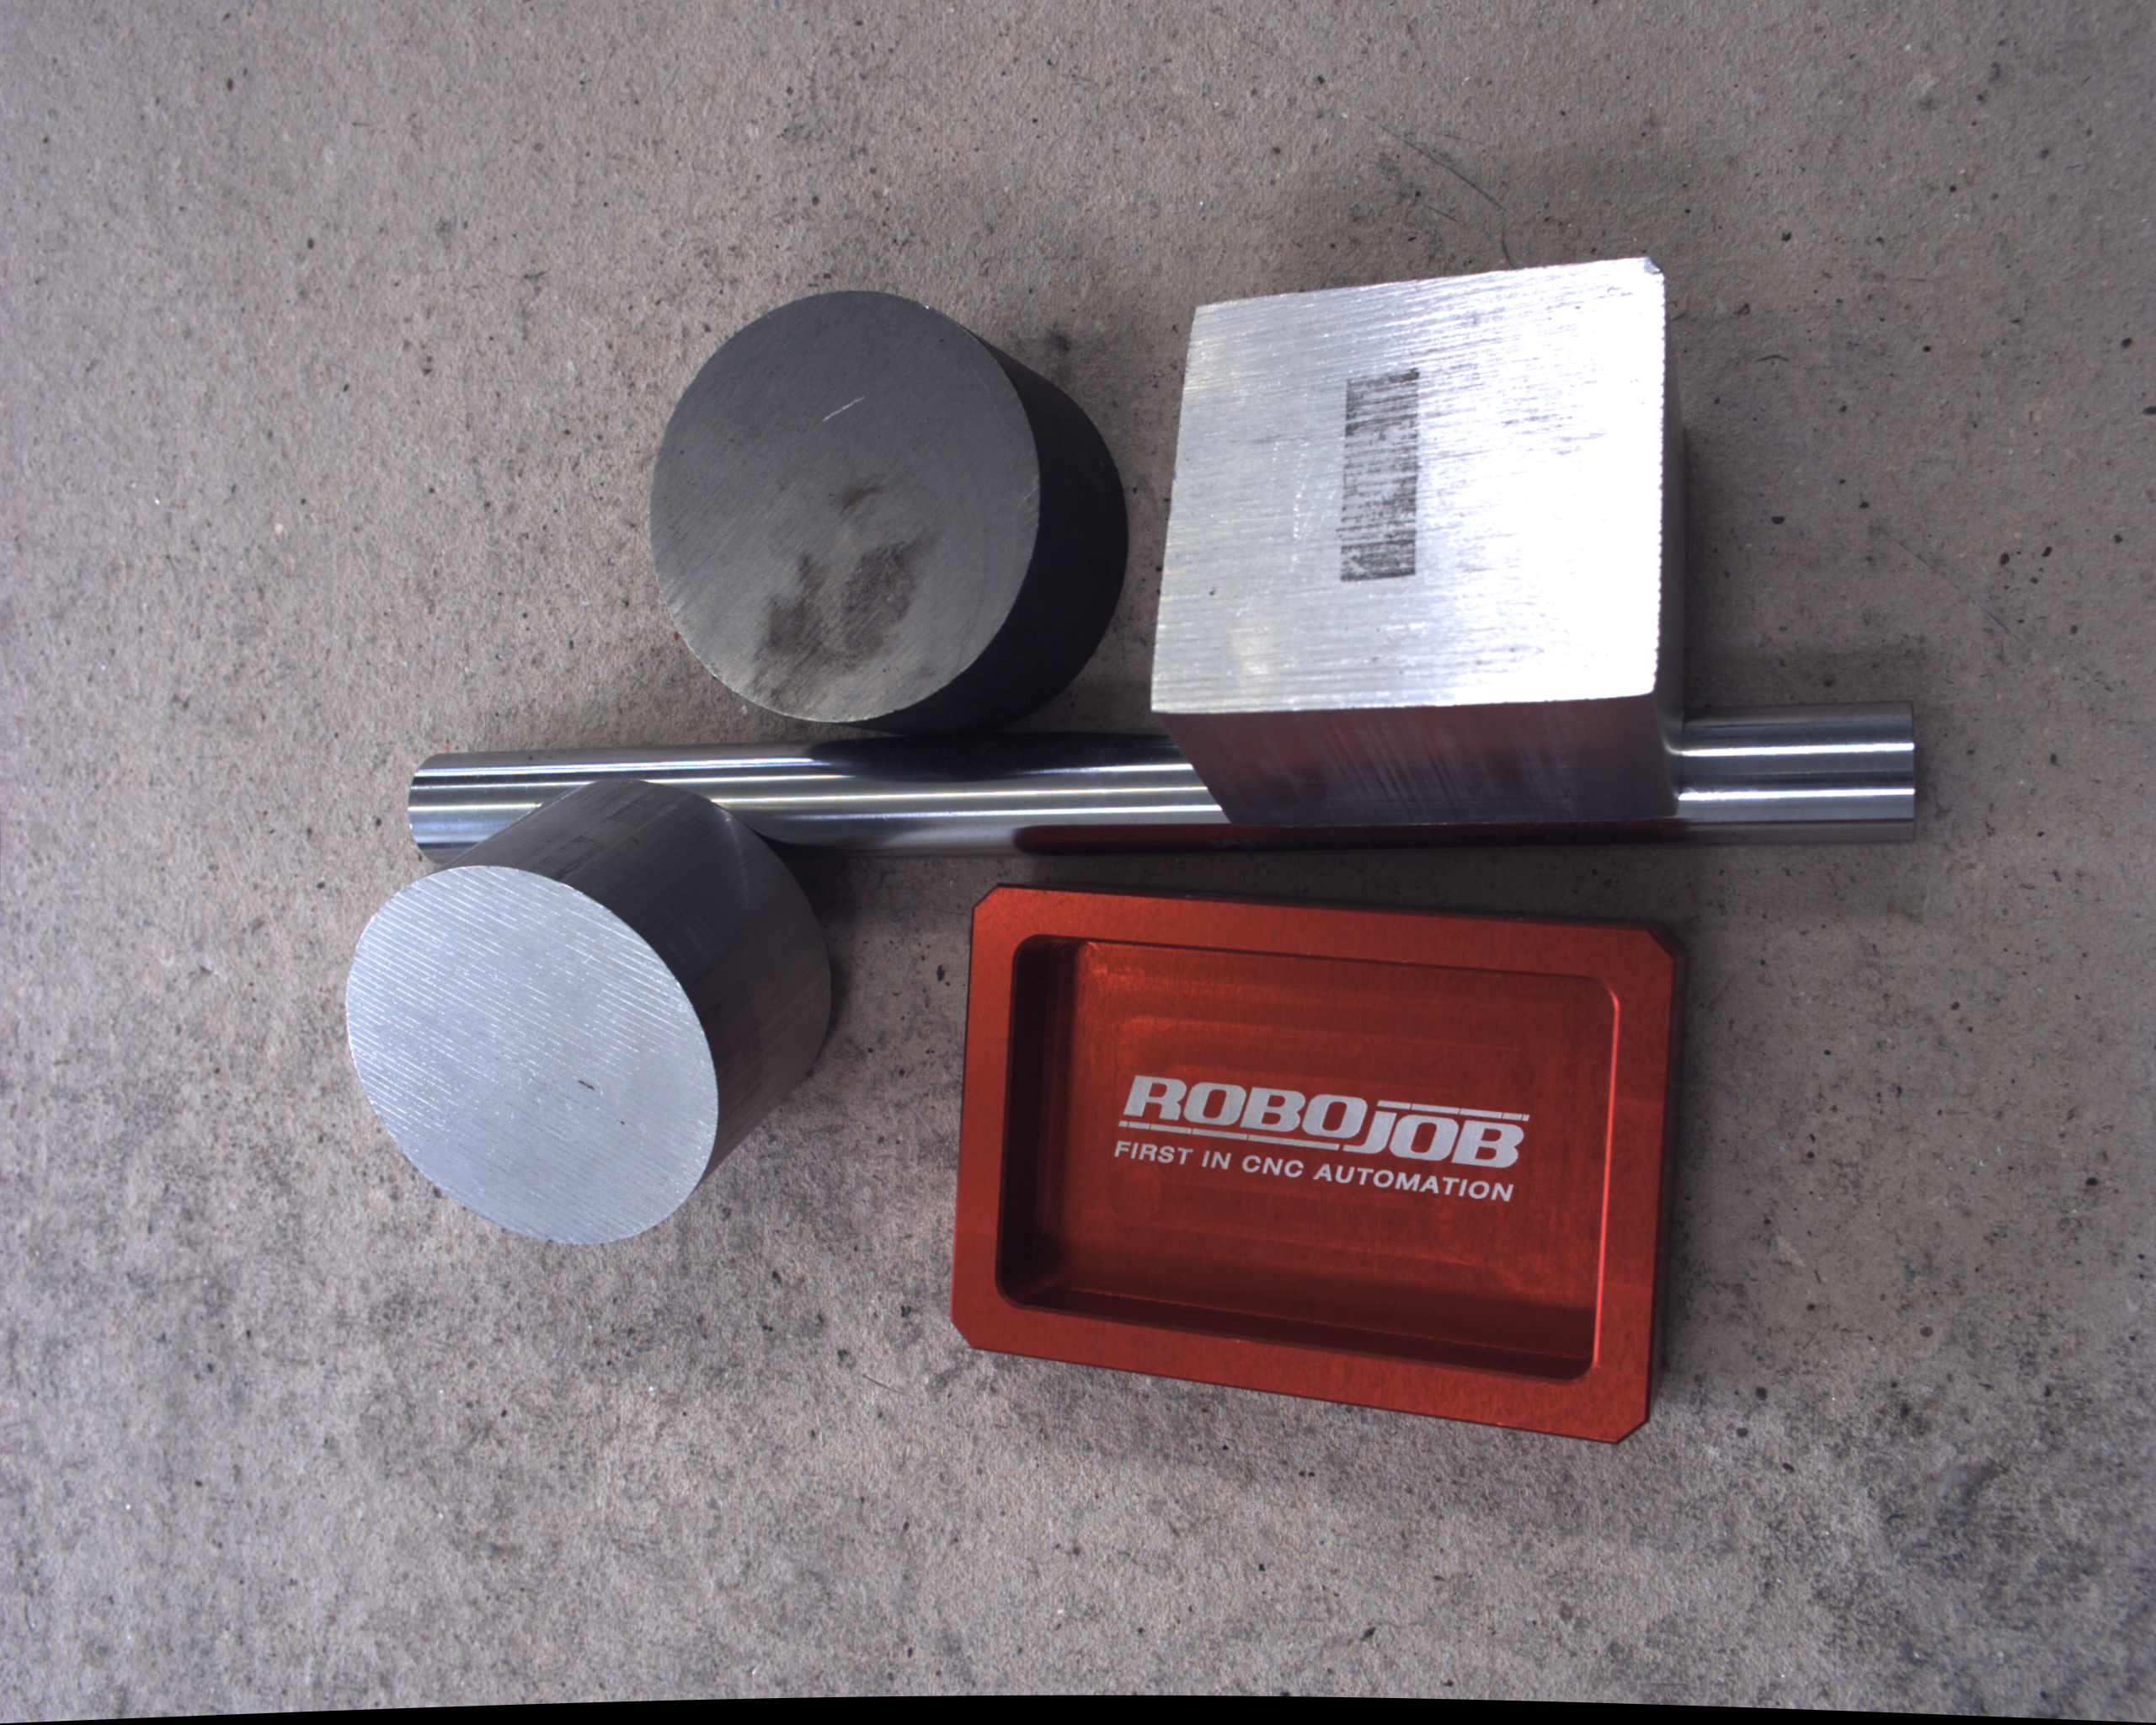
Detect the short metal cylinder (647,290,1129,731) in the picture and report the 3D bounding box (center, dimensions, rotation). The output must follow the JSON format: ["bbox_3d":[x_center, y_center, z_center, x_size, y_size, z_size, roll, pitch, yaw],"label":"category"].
[{"bbox_3d":[-0.036,-0.066,0.410,0.080,0.050,0.080,0,89,20],"label":"short metal cylinder"}]

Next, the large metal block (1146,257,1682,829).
[{"bbox_3d":[0.062,-0.053,0.362,0.080,0.050,0.080,-1,69,20],"label":"large metal block"}]

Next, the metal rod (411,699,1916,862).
[{"bbox_3d":[0.003,-0.014,0.410,0.301,0.025,0.025,-1,90,19],"label":"metal rod"}]

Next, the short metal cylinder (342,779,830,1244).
[{"bbox_3d":[-0.097,0.029,0.418,0.080,0.050,0.079,7,113,16],"label":"short metal cylinder"}]

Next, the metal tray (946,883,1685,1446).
[{"bbox_3d":[0.043,0.052,0.391,0.130,0.030,0.089,4,91,19],"label":"metal tray"}]
